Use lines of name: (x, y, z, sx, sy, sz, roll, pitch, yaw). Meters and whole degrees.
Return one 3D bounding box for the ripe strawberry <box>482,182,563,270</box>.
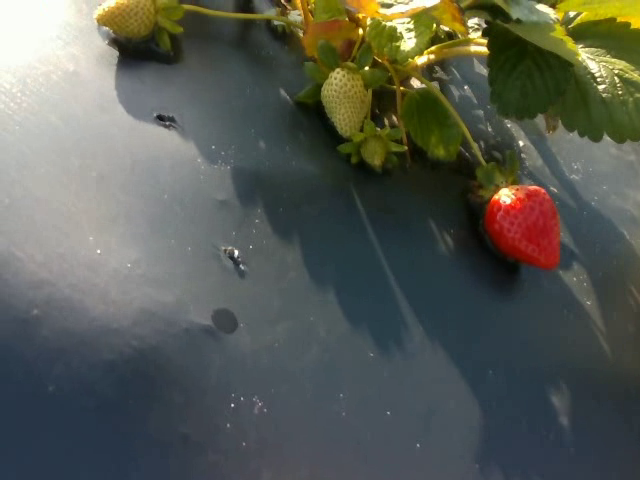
ripe strawberry: (0.082, -0.002, 0.255, 0.030, 0.045, 0.033, -20, -35, 5)
